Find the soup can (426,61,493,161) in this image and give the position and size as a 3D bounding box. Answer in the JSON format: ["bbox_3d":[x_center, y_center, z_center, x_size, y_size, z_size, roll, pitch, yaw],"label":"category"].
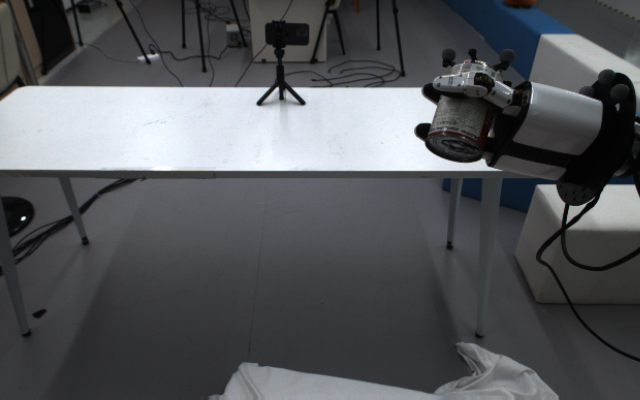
[{"bbox_3d":[0.172,-0.107,0.578,0.067,0.067,0.101,16,75,19],"label":"soup can"}]
